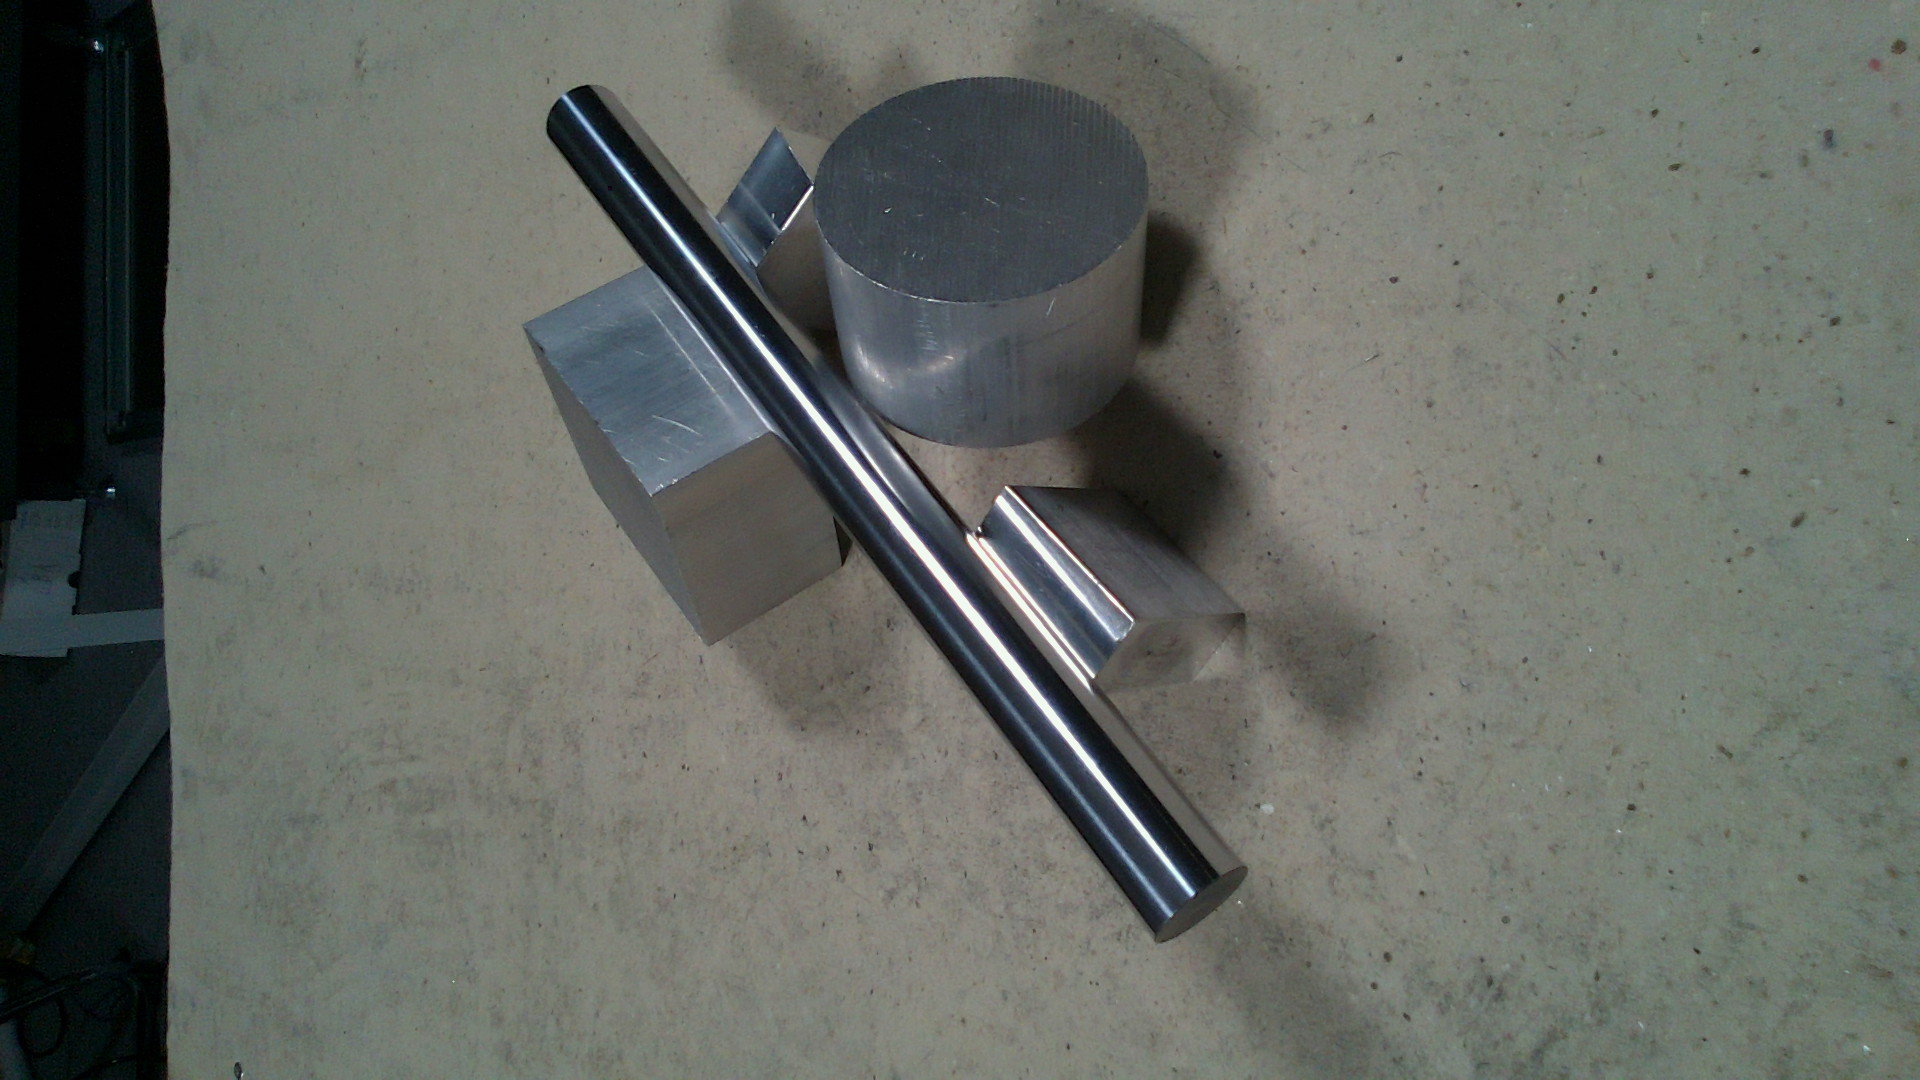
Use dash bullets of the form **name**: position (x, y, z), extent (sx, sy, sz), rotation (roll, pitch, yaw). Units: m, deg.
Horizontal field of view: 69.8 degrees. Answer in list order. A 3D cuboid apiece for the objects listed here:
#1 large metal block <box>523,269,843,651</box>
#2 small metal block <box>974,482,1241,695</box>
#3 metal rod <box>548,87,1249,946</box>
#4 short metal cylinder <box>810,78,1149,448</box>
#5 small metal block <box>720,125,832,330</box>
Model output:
- **large metal block**: position (-0.083, -0.027, 0.426), extent (0.080, 0.050, 0.080), rotation (48, 159, 29)
- **small metal block**: position (0.034, 0.012, 0.346), extent (0.050, 0.050, 0.025), rotation (48, 119, 29)
- **metal rod**: position (-0.033, -0.026, 0.357), extent (0.299, 0.025, 0.025), rotation (51, 120, 28)
- **short metal cylinder**: position (0.006, -0.070, 0.346), extent (0.080, 0.080, 0.050), rotation (46, 159, 30)
- **small metal block**: position (-0.044, -0.092, 0.416), extent (0.050, 0.050, 0.025), rotation (-47, 62, 30)
